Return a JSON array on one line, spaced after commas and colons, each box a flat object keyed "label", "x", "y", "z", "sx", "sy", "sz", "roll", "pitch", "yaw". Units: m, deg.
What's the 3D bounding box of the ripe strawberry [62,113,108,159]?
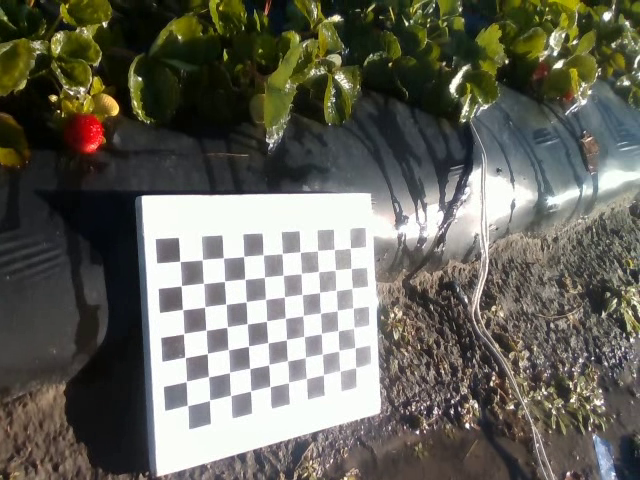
[{"label": "ripe strawberry", "x": -0.167, "y": -0.072, "z": 0.449, "sx": 0.039, "sy": 0.040, "sz": 0.039, "roll": -14, "pitch": 33, "yaw": -24}]
